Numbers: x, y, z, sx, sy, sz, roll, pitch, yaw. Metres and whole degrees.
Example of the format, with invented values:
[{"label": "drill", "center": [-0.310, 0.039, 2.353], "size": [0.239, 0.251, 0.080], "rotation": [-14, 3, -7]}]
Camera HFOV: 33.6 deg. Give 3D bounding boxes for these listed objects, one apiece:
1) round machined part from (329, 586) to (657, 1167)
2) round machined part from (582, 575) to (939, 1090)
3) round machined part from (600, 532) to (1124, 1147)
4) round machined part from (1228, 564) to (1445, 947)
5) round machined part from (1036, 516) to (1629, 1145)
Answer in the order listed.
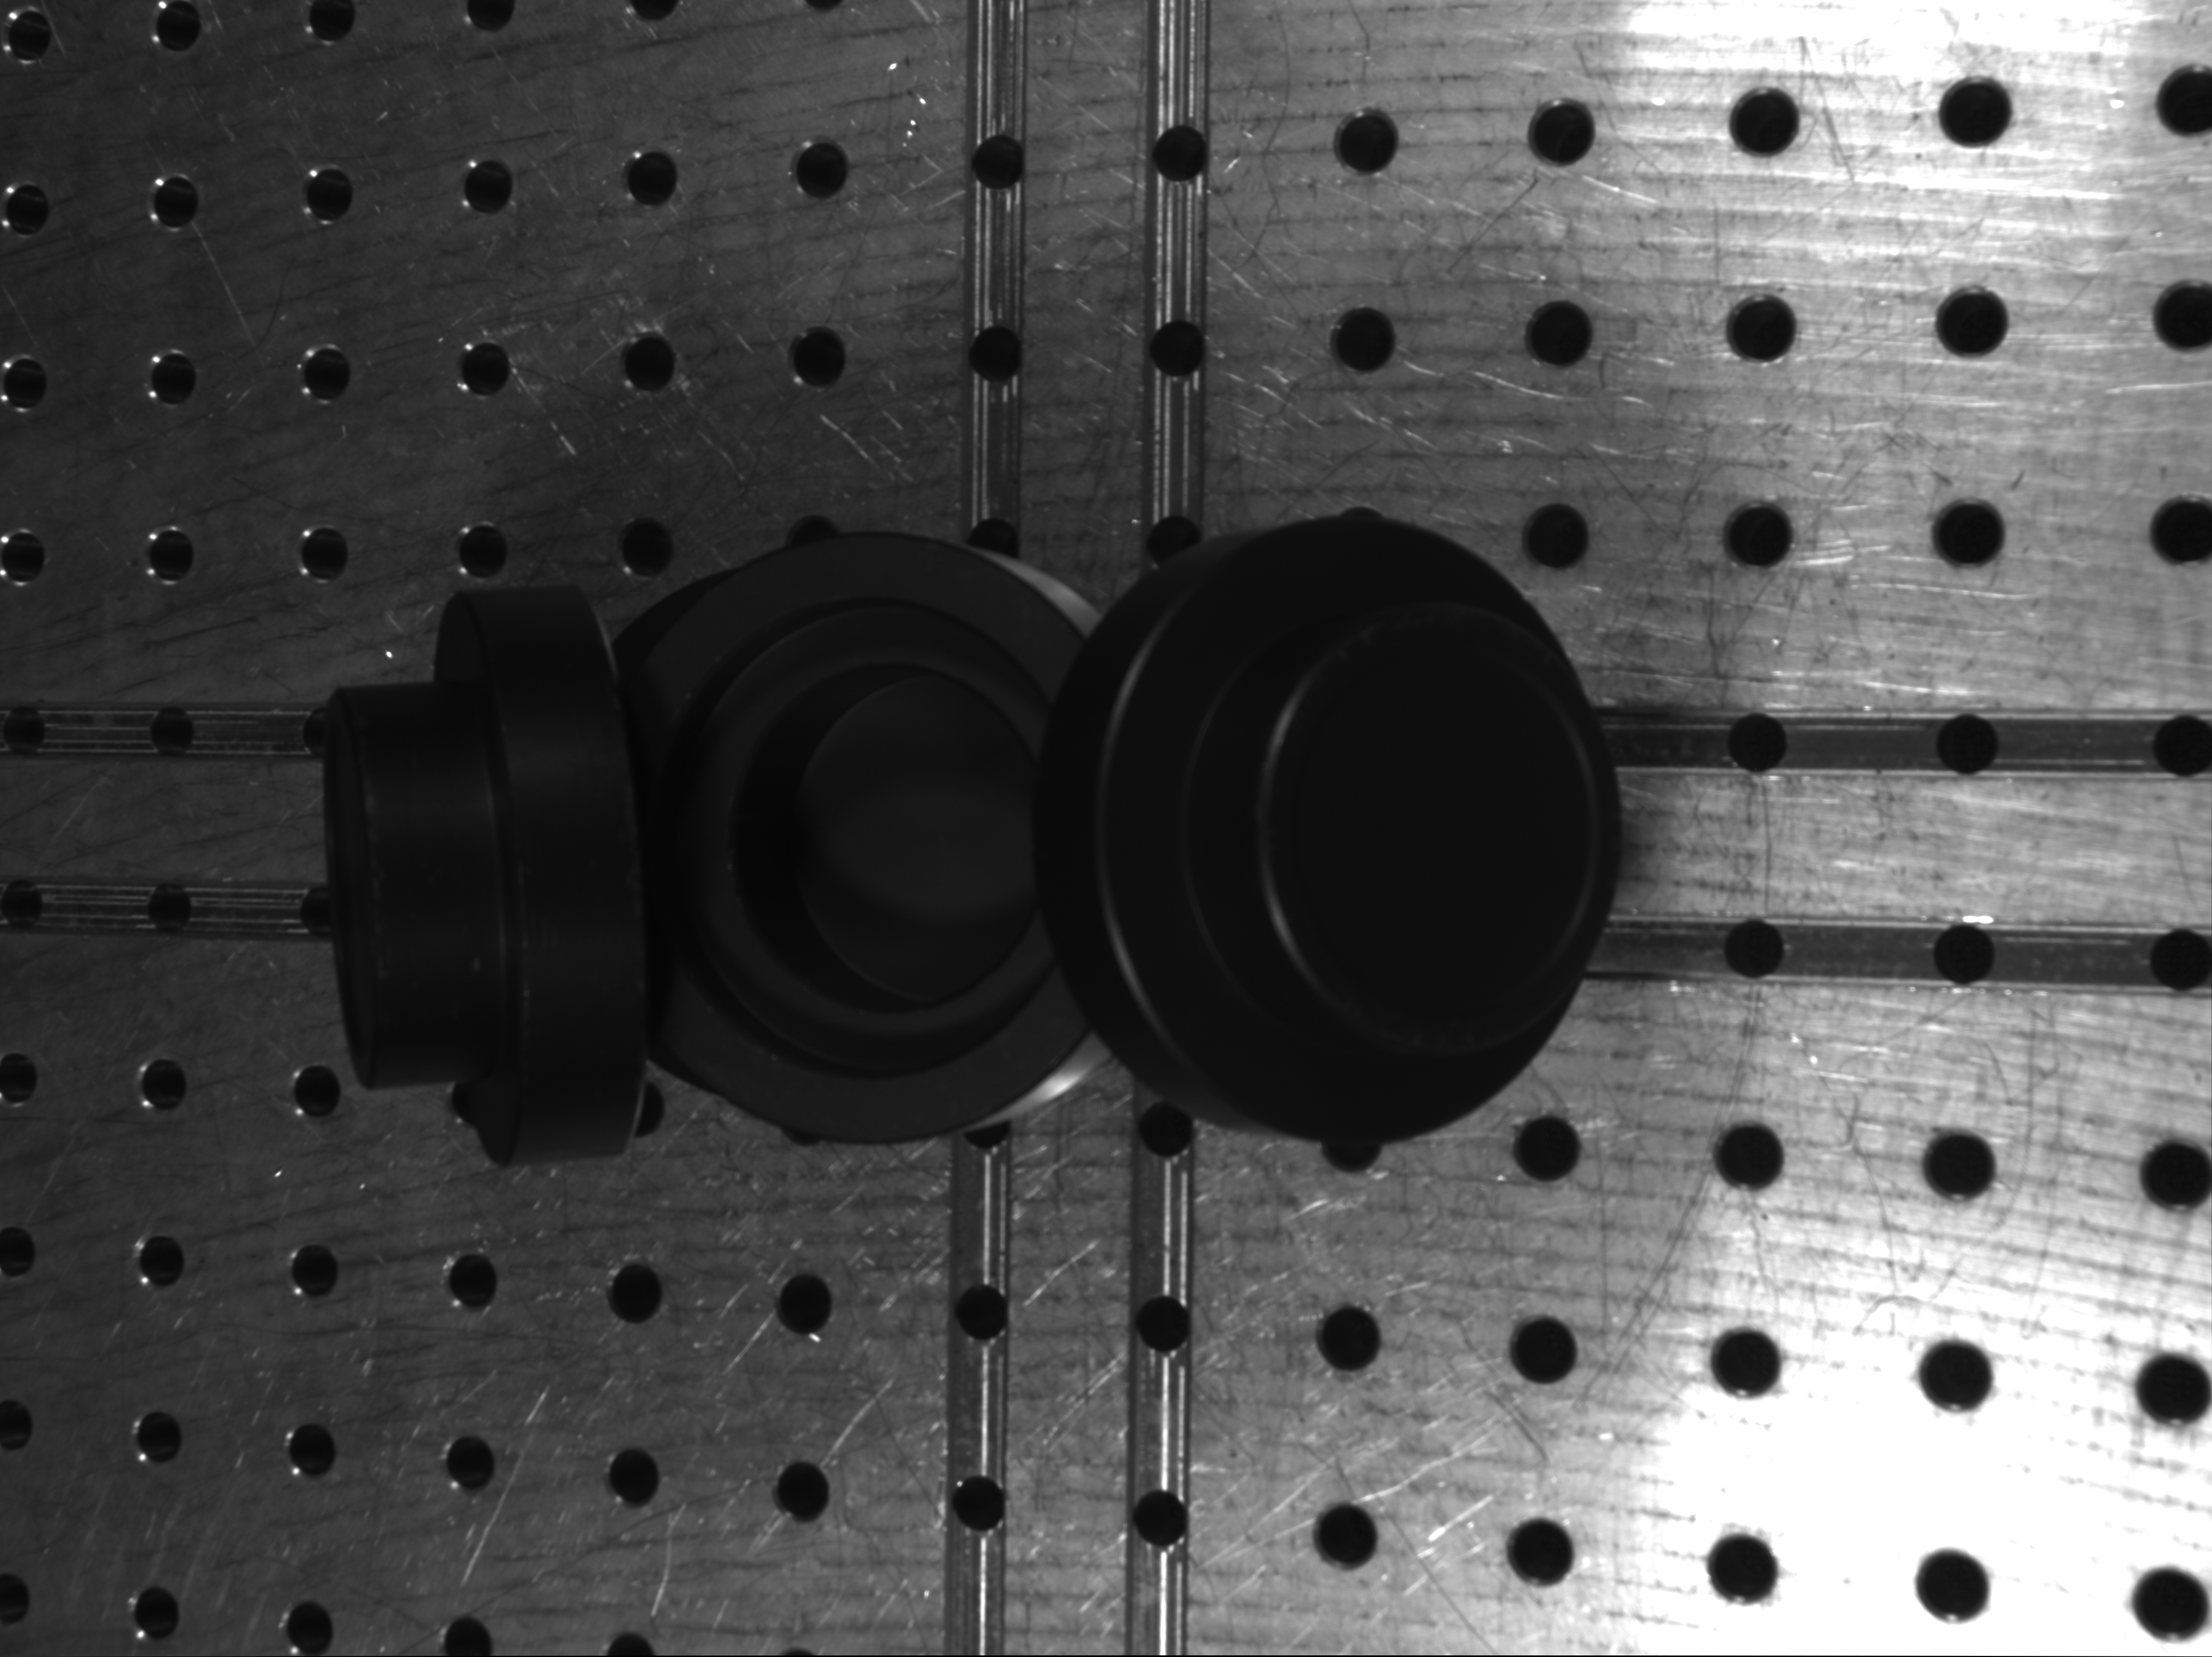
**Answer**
[{"label": "round machined part", "center": [-0.107, 0.009, 0.621], "size": [0.042, 0.098, 0.098], "rotation": [-5, 88, -18]}, {"label": "round machined part", "center": [-0.058, 0.001, 0.658], "size": [0.098, 0.042, 0.098], "rotation": [0, 90, 20]}, {"label": "round machined part", "center": [-0.031, 0.002, 0.603], "size": [0.098, 0.042, 0.098], "rotation": [0, 90, 20]}, {"label": "round machined part", "center": [0.034, 0.001, 0.625], "size": [0.098, 0.042, 0.098], "rotation": [0, 90, 20]}, {"label": "round machined part", "center": [0.042, 0.000, 0.569], "size": [0.042, 0.098, 0.098], "rotation": [0, 90, 60]}]
